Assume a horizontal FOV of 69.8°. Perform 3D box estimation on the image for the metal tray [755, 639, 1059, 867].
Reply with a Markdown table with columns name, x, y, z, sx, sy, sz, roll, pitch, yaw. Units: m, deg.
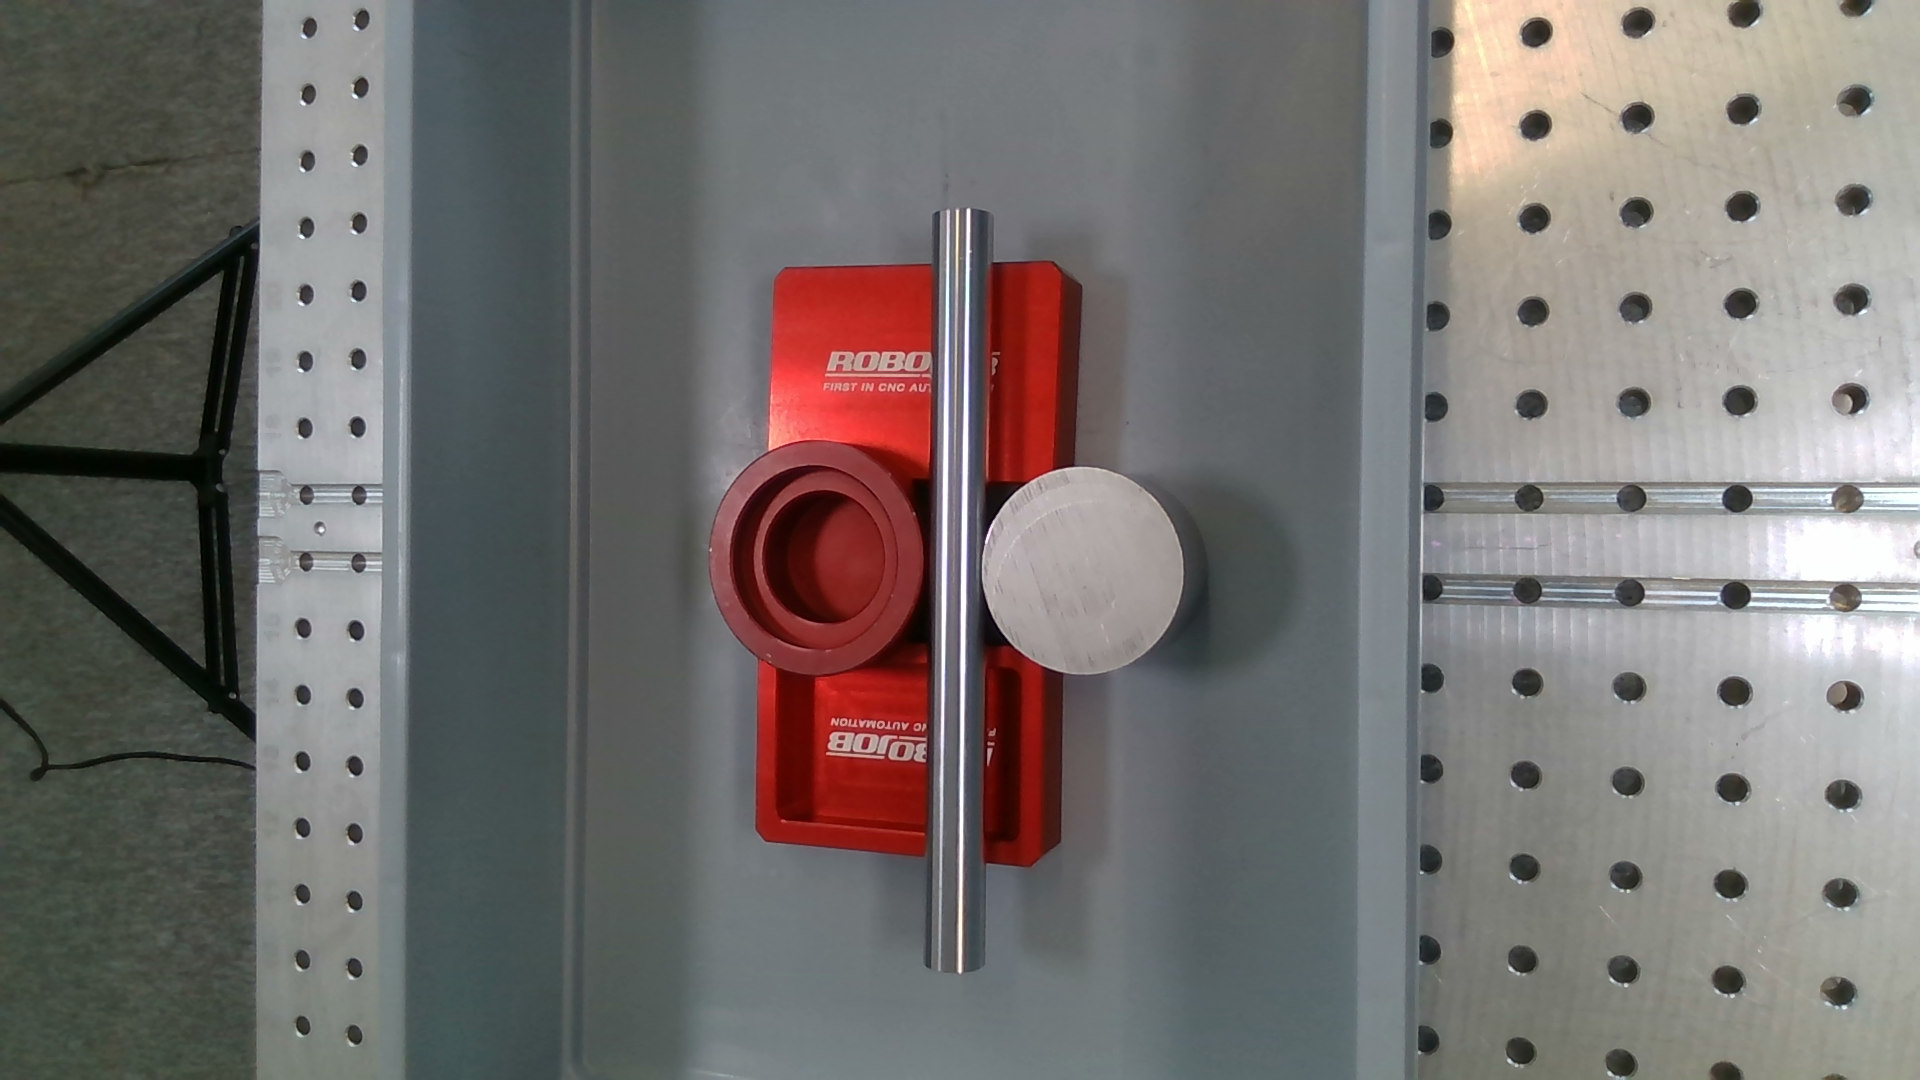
| name | x | y | z | sx | sy | sz | roll | pitch | yaw |
| --- | --- | --- | --- | --- | --- | --- | --- | --- | --- |
| metal tray | -0.023 | 0.087 | 0.591 | 0.130 | 0.030 | 0.090 | 1 | 91 | 20 |

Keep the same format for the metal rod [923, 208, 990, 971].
| name | x | y | z | sx | sy | sz | roll | pitch | yaw |
| --- | --- | --- | --- | --- | --- | --- | --- | --- | --- |
| metal rod | -0.001 | 0.020 | 0.553 | 0.025 | 0.025 | 0.300 | 1 | 91 | 20 |

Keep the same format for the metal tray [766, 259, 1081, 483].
| name | x | y | z | sx | sy | sz | roll | pitch | yaw |
| --- | --- | --- | --- | --- | --- | --- | --- | --- | --- |
| metal tray | -0.017 | -0.070 | 0.586 | 0.130 | 0.030 | 0.090 | 3 | 92 | 20 |

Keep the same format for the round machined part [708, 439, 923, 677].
| name | x | y | z | sx | sy | sz | roll | pitch | yaw |
| --- | --- | --- | --- | --- | --- | --- | --- | --- | --- |
| round machined part | -0.054 | 0.007 | 0.586 | 0.098 | 0.042 | 0.098 | 0 | 91 | 20 |

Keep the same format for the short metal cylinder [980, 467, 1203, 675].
| name | x | y | z | sx | sy | sz | roll | pitch | yaw |
| --- | --- | --- | --- | --- | --- | --- | --- | --- | --- |
| short metal cylinder | 0.054 | 0.012 | 0.551 | 0.080 | 0.050 | 0.080 | 0 | 91 | 20 |
